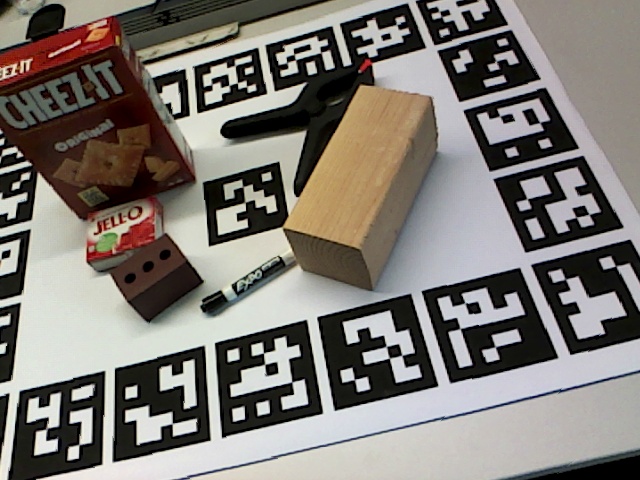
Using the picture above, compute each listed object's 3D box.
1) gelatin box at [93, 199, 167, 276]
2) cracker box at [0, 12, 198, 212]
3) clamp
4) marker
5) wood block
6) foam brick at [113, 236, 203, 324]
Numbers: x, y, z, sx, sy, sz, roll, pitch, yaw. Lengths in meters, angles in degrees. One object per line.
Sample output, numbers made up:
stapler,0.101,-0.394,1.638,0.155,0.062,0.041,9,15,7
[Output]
gelatin box,-0.234,-0.003,0.762,0.089,0.030,0.073,-17,58,5
cracker box,-0.260,-0.140,0.735,0.164,0.212,0.072,-18,55,1
clamp,-0.010,-0.159,0.791,0.202,0.036,0.166,-42,58,-12
marker,-0.089,0.054,0.688,0.121,0.019,0.020,-33,58,-6
wood block,0.049,-0.059,0.685,0.090,0.090,0.206,14,61,25
foam brick,-0.183,0.046,0.701,0.078,0.051,0.053,-37,59,-8
